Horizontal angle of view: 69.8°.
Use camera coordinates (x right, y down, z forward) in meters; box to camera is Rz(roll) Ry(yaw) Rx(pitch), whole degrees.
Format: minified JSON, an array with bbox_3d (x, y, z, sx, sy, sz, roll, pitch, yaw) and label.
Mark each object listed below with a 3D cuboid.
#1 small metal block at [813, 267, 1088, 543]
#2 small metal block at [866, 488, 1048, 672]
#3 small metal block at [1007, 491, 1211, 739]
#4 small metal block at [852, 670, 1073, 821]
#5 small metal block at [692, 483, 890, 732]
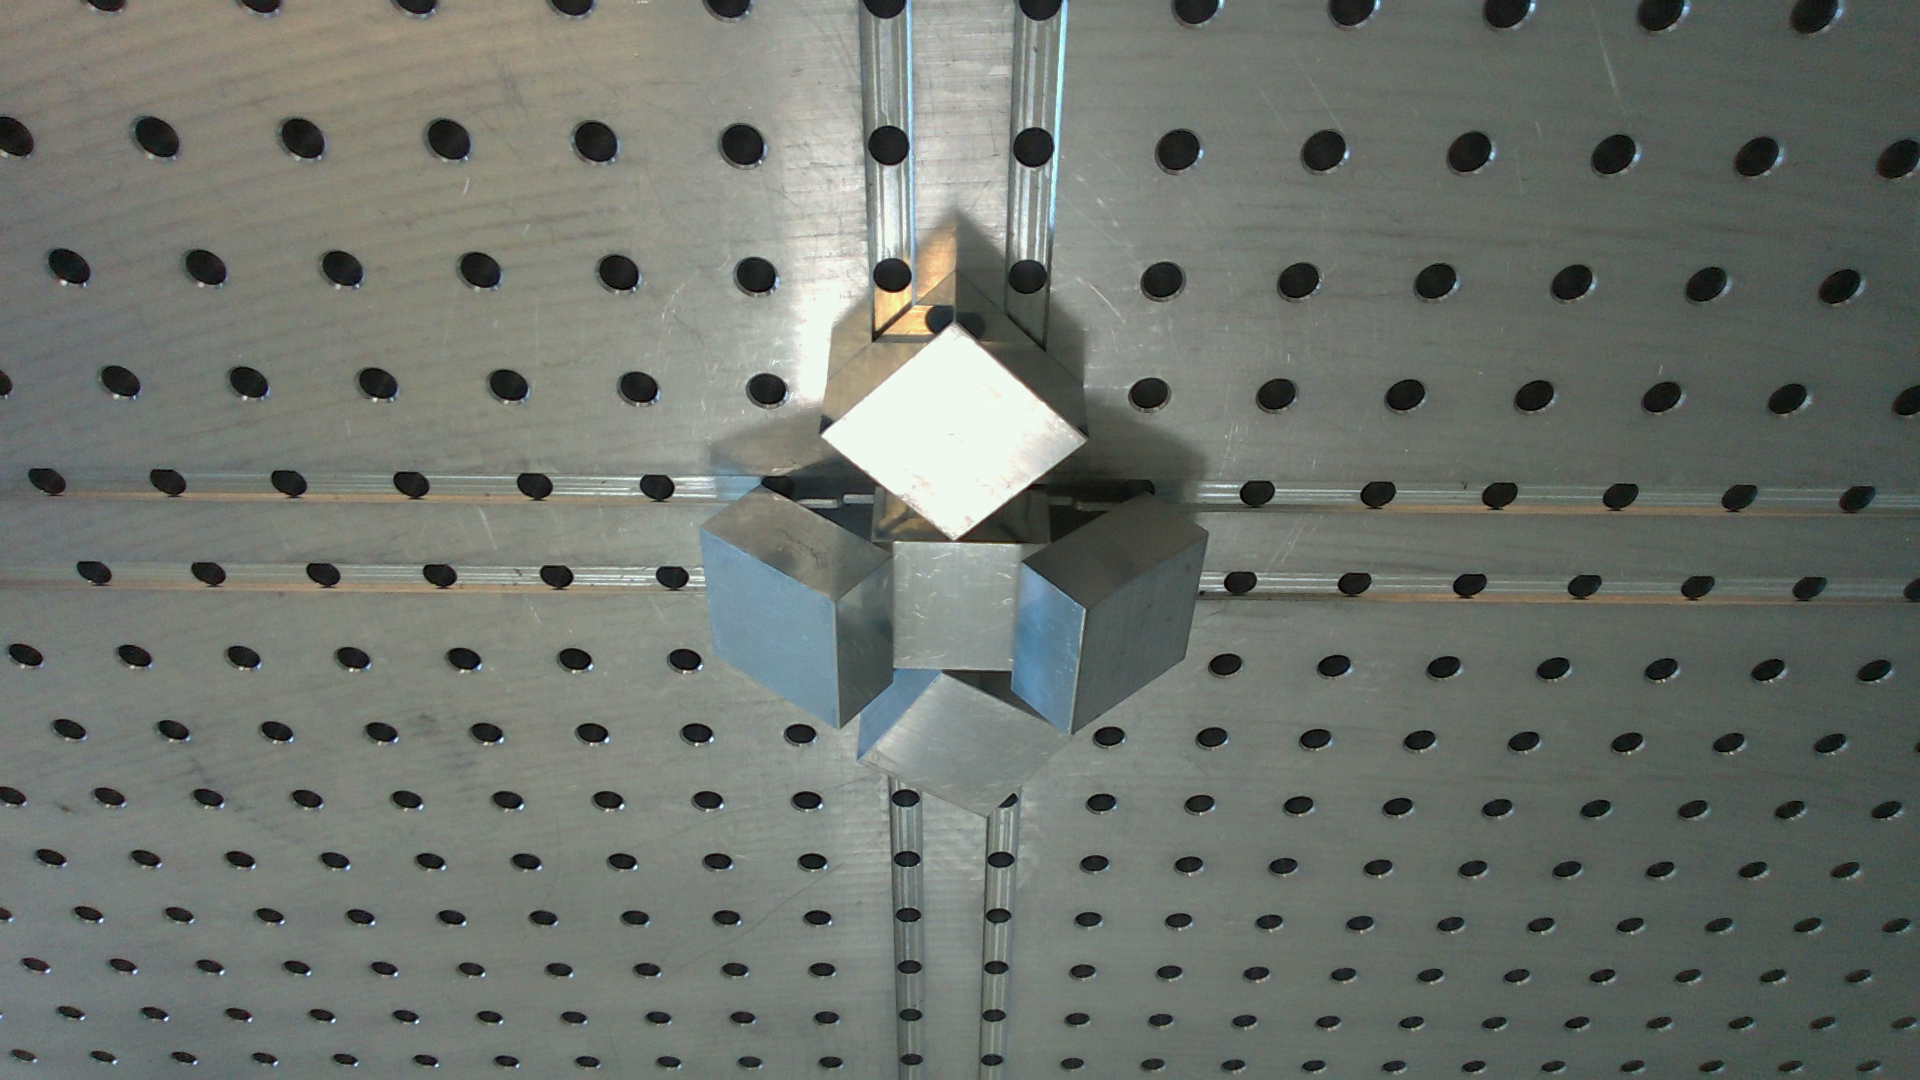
[{"bbox_3d":[-0.002,-0.035,0.364,0.050,0.025,0.050,-37,120,26],"label":"small metal block"},{"bbox_3d":[-0.001,0.012,0.403,0.050,0.025,0.050,1,129,-1],"label":"small metal block"},{"bbox_3d":[0.042,0.021,0.394,0.050,0.025,0.050,-27,139,-31],"label":"small metal block"},{"bbox_3d":[0.001,0.058,0.442,0.050,0.025,0.050,28,125,-20],"label":"small metal block"},{"bbox_3d":[-0.047,0.019,0.393,0.050,0.025,0.050,27,137,25],"label":"small metal block"}]
